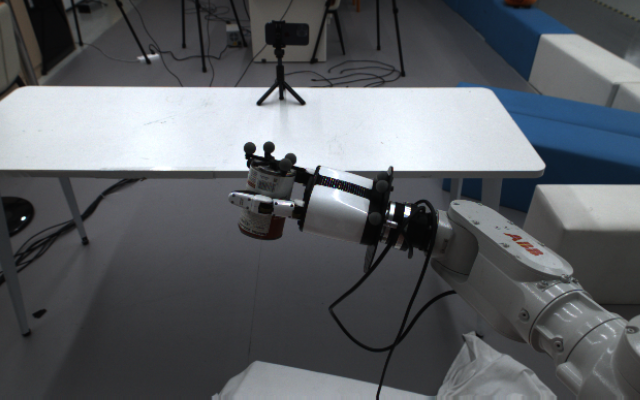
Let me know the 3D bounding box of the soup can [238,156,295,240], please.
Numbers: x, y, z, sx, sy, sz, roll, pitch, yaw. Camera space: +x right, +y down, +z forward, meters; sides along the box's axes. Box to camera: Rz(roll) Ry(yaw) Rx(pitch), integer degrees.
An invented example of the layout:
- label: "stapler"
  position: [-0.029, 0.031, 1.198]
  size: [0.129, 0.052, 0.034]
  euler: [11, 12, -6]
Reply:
- label: "soup can"
  position: [-0.076, 0.000, 0.700]
  size: [0.067, 0.101, 0.067]
  euler: [13, 18, -4]
